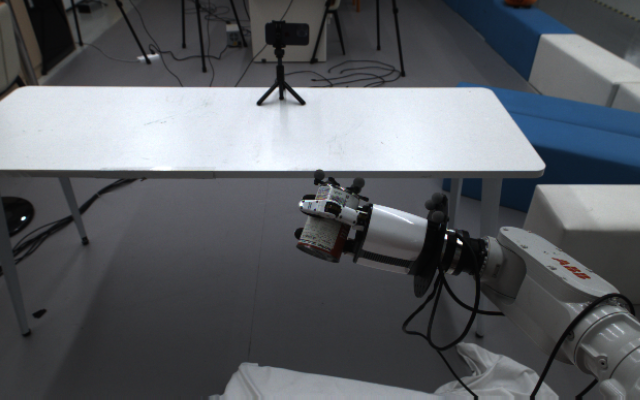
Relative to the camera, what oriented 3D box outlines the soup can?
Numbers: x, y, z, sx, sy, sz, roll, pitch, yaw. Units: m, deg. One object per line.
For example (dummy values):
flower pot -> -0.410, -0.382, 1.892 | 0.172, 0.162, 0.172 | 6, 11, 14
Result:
soup can -> 0.014, 0.036, 0.726 | 0.067, 0.067, 0.101 | 15, 75, 18
